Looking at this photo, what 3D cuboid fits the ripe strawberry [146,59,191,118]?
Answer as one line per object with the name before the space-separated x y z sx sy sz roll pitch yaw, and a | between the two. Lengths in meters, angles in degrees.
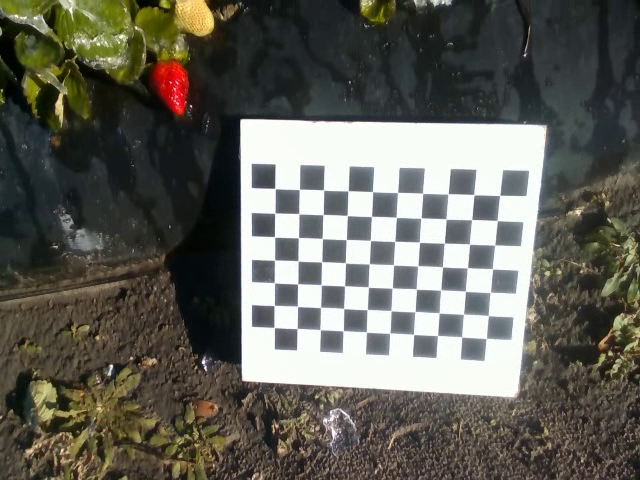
ripe strawberry | -0.142 -0.142 0.562 0.041 0.052 0.040 -15 3 6
